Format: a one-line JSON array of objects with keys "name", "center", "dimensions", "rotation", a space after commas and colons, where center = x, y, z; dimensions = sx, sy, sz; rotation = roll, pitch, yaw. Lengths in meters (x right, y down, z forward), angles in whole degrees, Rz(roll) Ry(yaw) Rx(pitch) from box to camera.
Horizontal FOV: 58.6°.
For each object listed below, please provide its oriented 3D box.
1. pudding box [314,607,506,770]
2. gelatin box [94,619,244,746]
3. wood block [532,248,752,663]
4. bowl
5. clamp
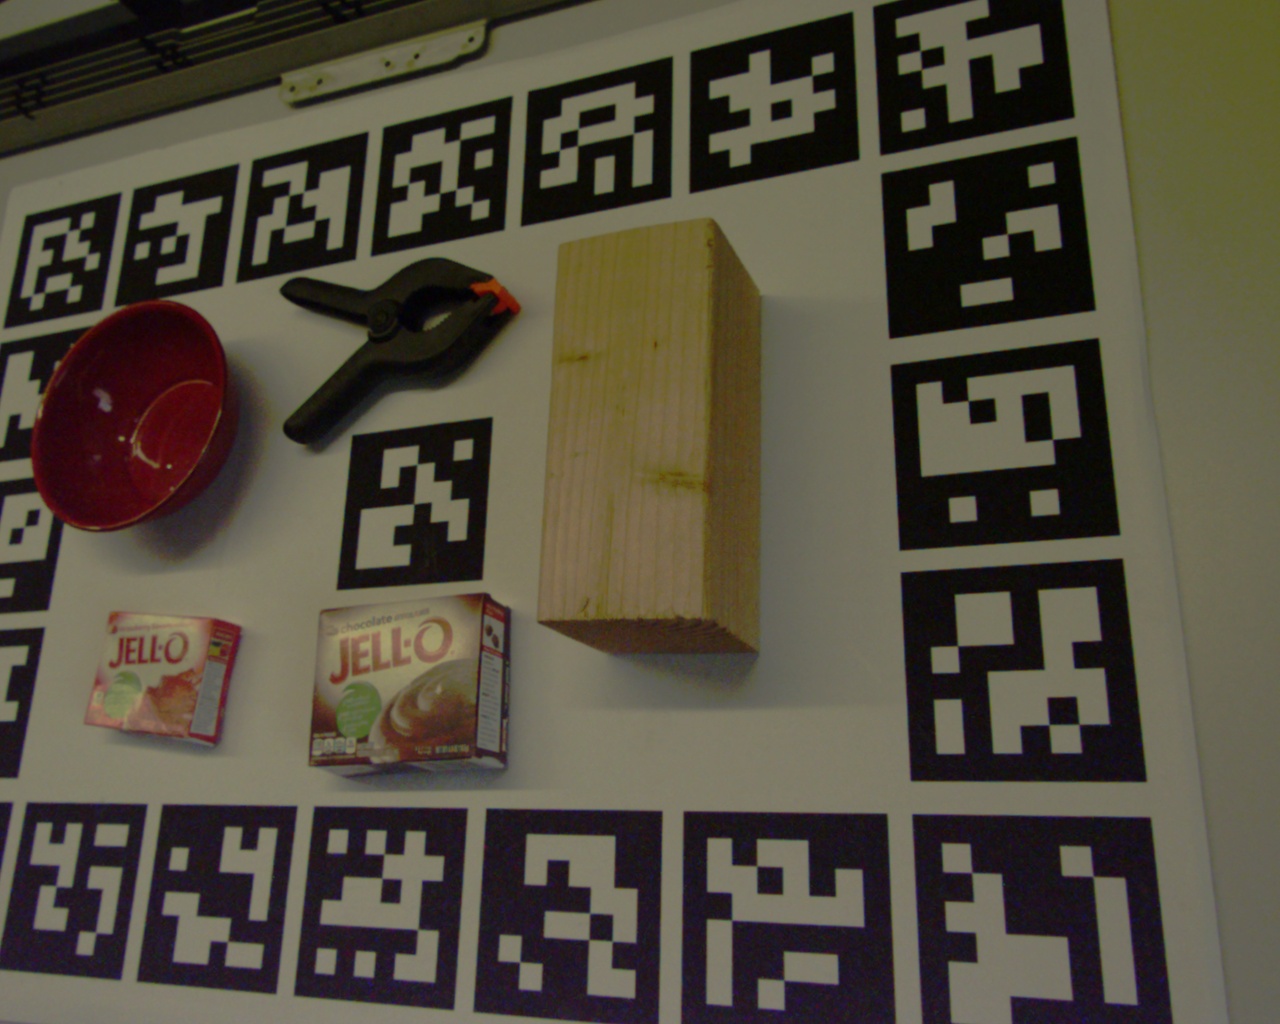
[{"name": "pudding box", "center": [-0.135, 0.105, 0.671], "dimensions": [0.115, 0.038, 0.090], "rotation": [-7, 76, 23]}, {"name": "gelatin box", "center": [-0.309, 0.110, 0.745], "dimensions": [0.090, 0.030, 0.073], "rotation": [3, 77, 23]}, {"name": "wood block", "center": [0.006, -0.027, 0.623], "dimensions": [0.091, 0.090, 0.206], "rotation": [-2, 74, 20]}, {"name": "bowl", "center": [-0.331, -0.054, 0.798], "dimensions": [0.163, 0.054, 0.162], "rotation": [-5, 75, 20]}, {"name": "clamp", "center": [-0.175, -0.105, 0.761], "dimensions": [0.166, 0.036, 0.122], "rotation": [-15, 69, 16]}]
